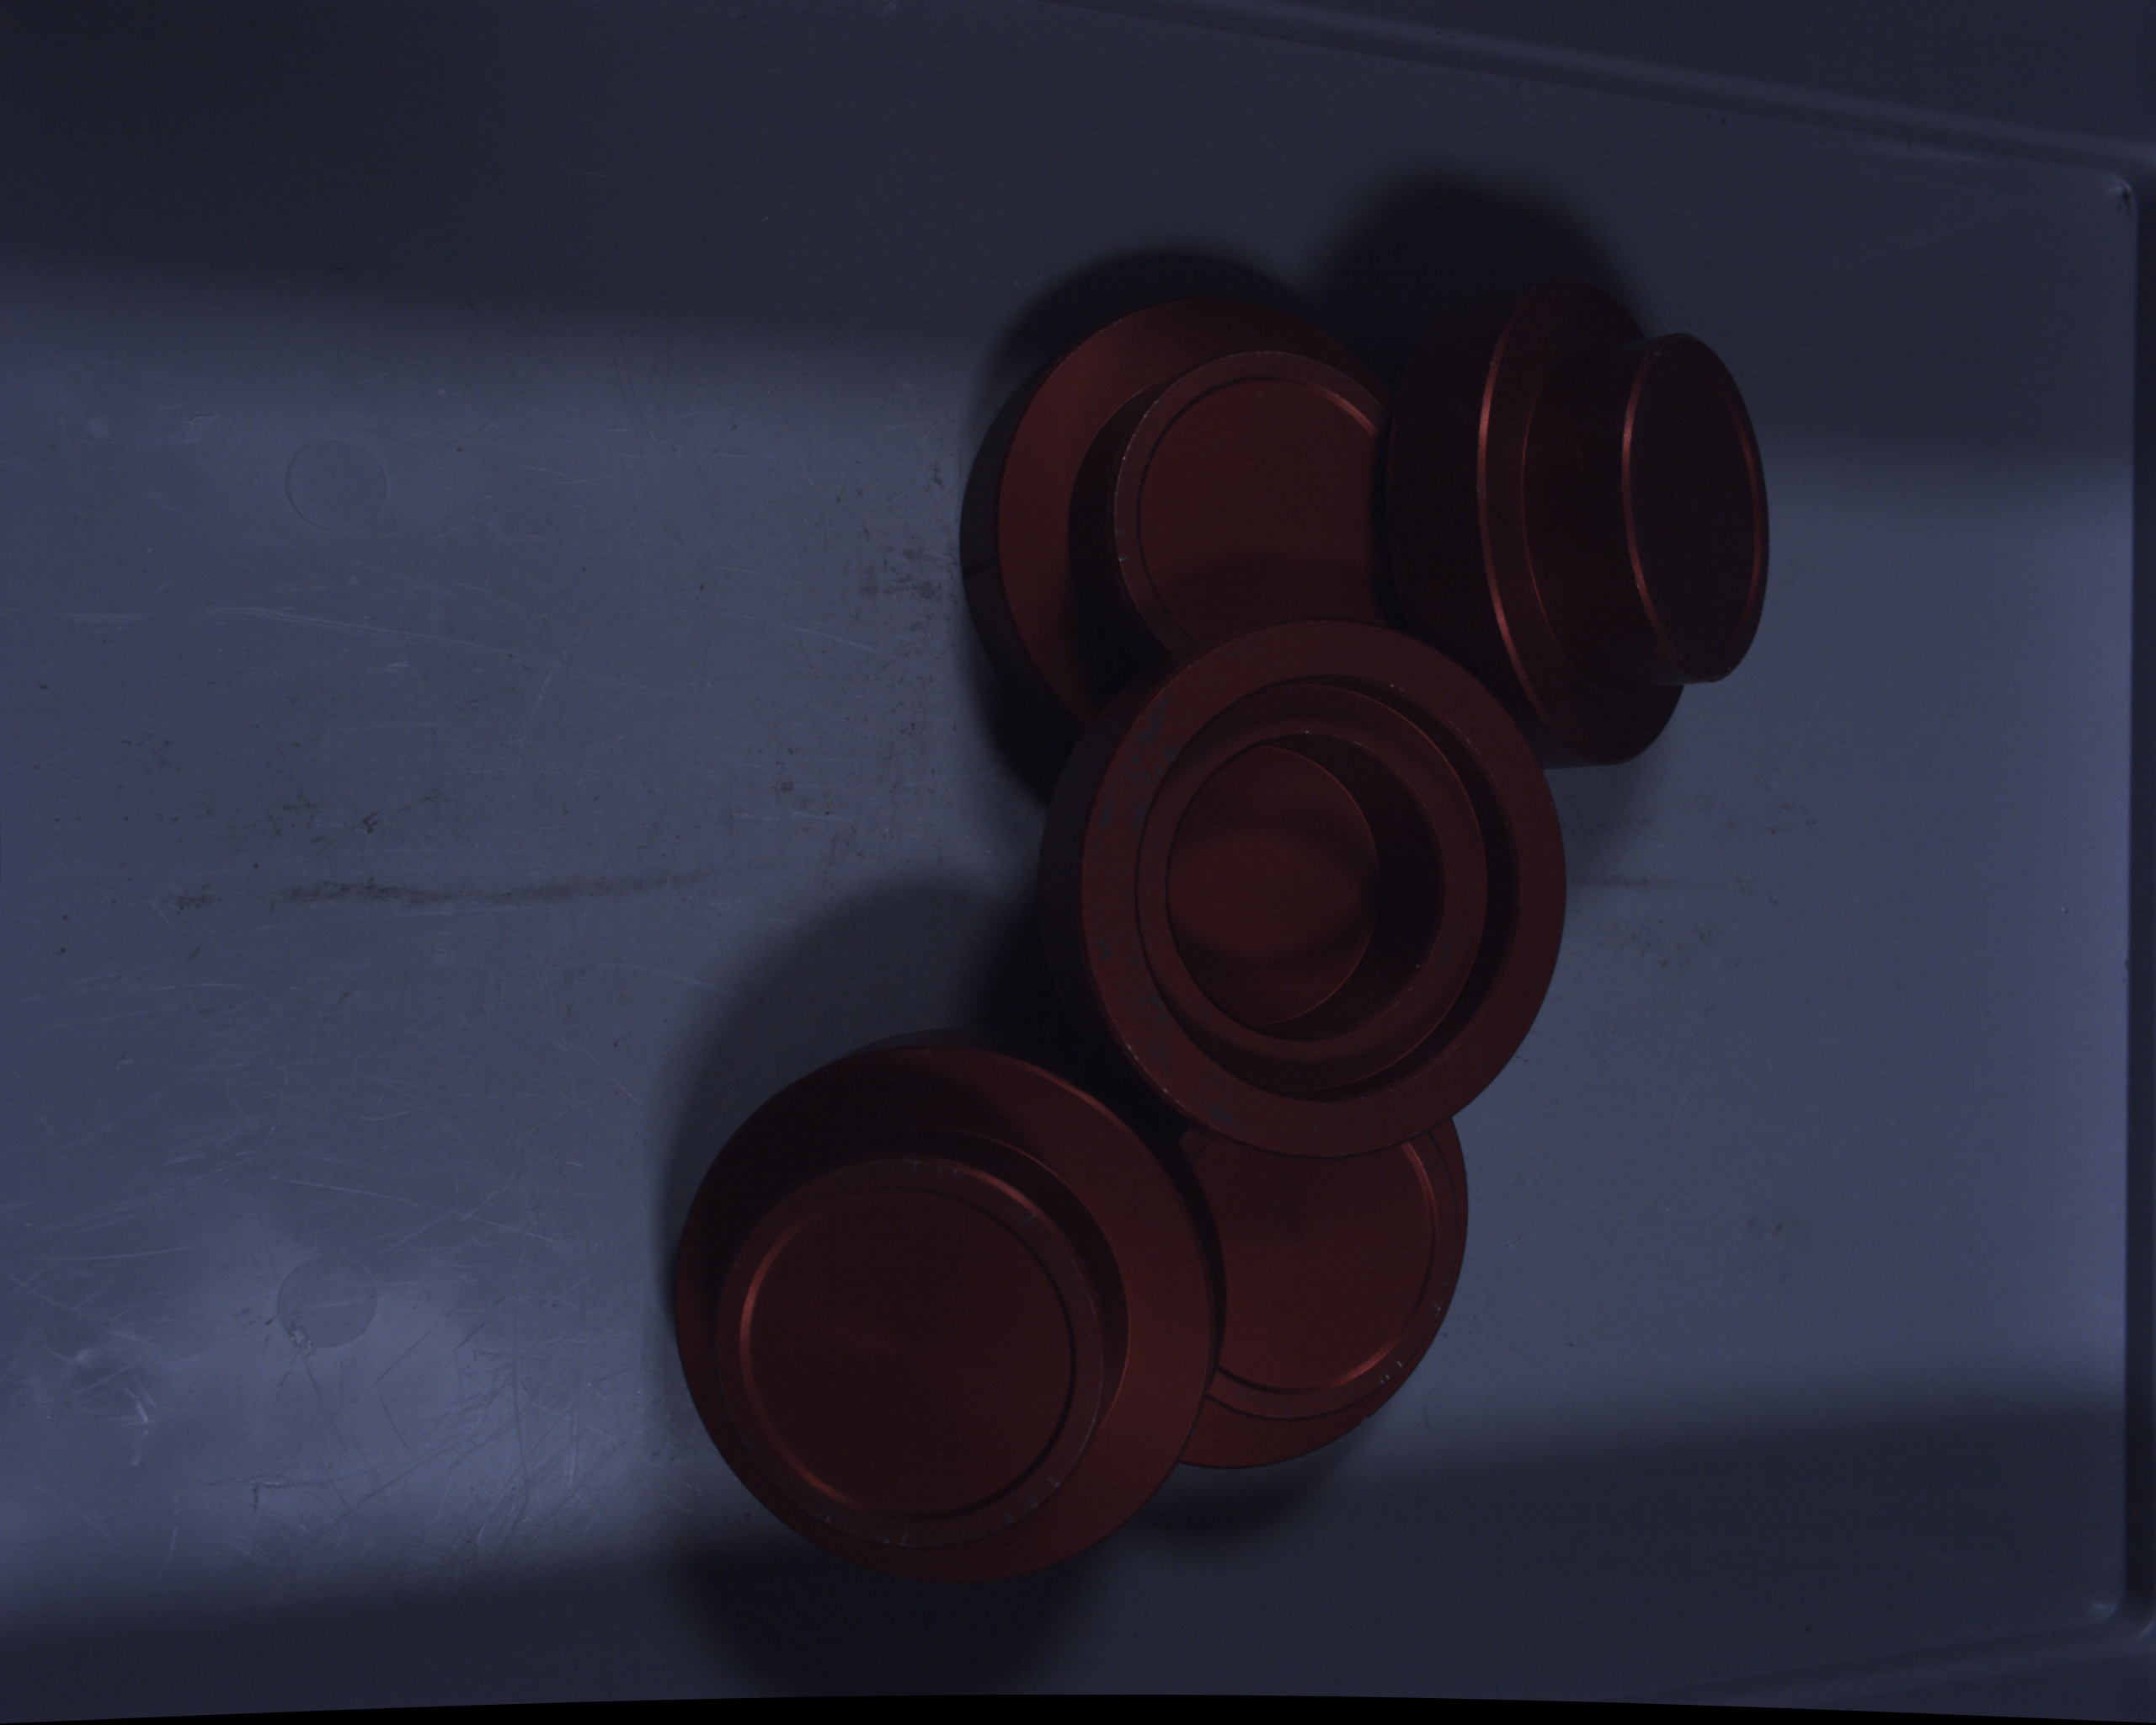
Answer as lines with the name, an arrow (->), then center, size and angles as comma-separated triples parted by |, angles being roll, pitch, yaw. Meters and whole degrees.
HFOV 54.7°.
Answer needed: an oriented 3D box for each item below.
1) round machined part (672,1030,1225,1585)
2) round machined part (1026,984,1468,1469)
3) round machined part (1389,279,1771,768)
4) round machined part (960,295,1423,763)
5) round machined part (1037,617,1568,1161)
round machined part -> -0.025, 0.081, 0.369 | 0.098, 0.042, 0.097 | 1, 94, 9
round machined part -> 0.035, 0.072, 0.414 | 0.099, 0.042, 0.097 | 0, 90, -21
round machined part -> 0.106, -0.068, 0.417 | 0.099, 0.042, 0.097 | 5, 84, -50
round machined part -> 0.030, -0.063, 0.411 | 0.099, 0.042, 0.097 | 0, 90, -21
round machined part -> 0.039, 0.005, 0.392 | 0.099, 0.042, 0.097 | 0, 90, -21
